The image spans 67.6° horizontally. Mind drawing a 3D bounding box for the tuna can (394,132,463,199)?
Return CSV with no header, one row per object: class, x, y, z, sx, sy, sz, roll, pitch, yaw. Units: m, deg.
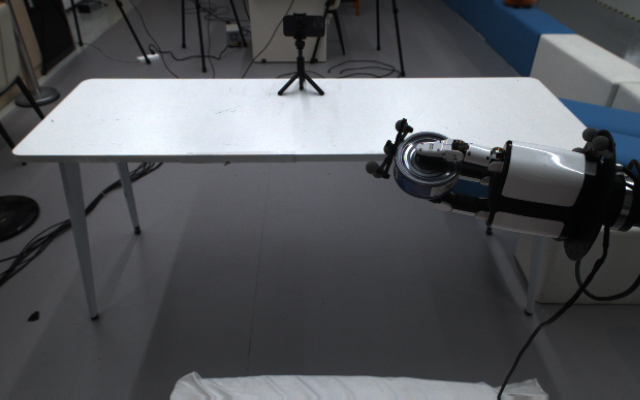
tuna can,0.141,-0.047,0.628,0.085,0.034,0.085,-1,61,1
